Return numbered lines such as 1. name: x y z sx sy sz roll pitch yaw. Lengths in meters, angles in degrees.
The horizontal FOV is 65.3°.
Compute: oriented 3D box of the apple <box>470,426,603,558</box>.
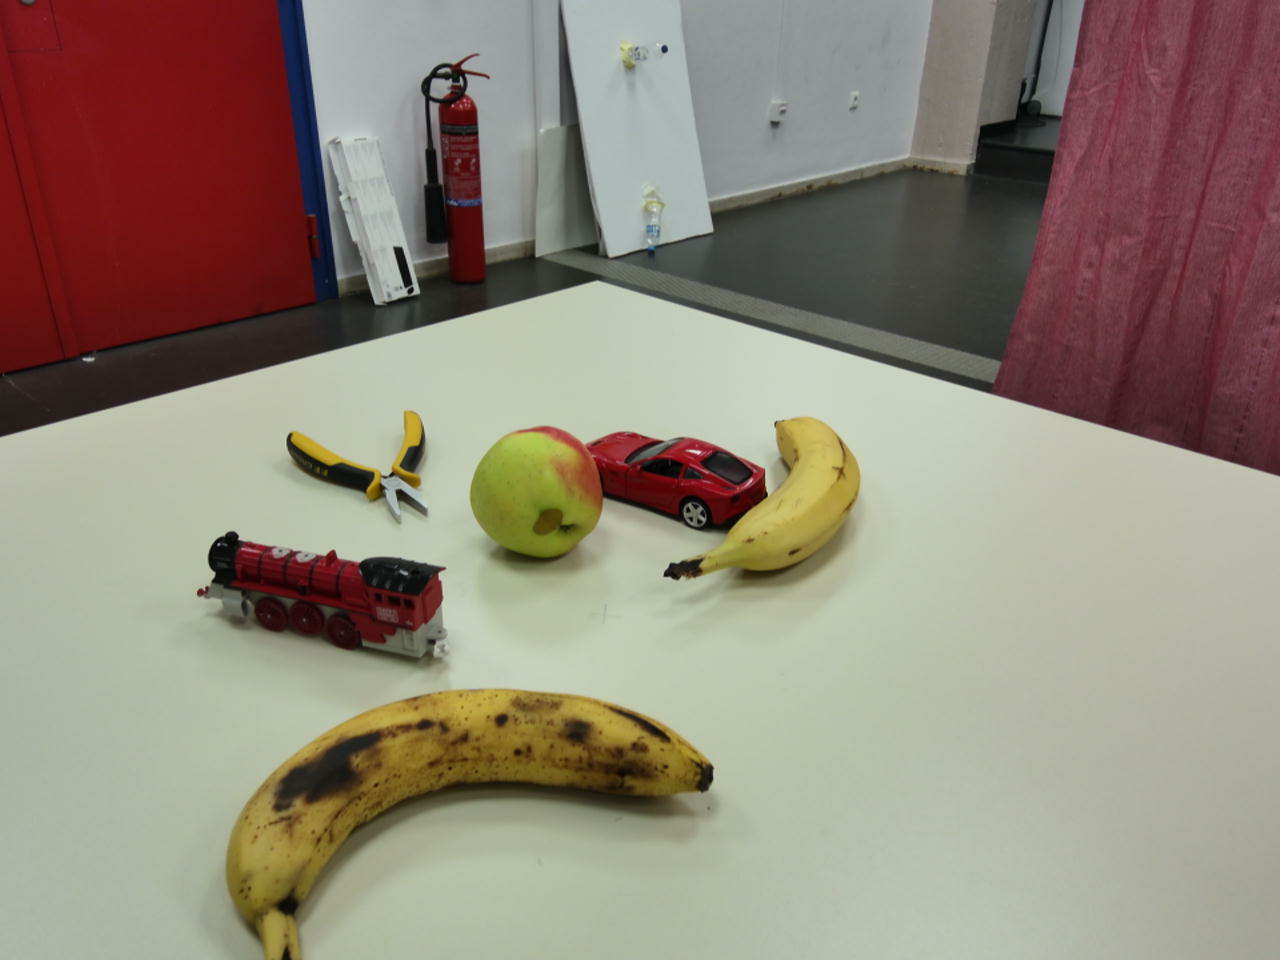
1. apple: -0.058 0.006 0.579 0.075 0.074 0.075 11 27 20
